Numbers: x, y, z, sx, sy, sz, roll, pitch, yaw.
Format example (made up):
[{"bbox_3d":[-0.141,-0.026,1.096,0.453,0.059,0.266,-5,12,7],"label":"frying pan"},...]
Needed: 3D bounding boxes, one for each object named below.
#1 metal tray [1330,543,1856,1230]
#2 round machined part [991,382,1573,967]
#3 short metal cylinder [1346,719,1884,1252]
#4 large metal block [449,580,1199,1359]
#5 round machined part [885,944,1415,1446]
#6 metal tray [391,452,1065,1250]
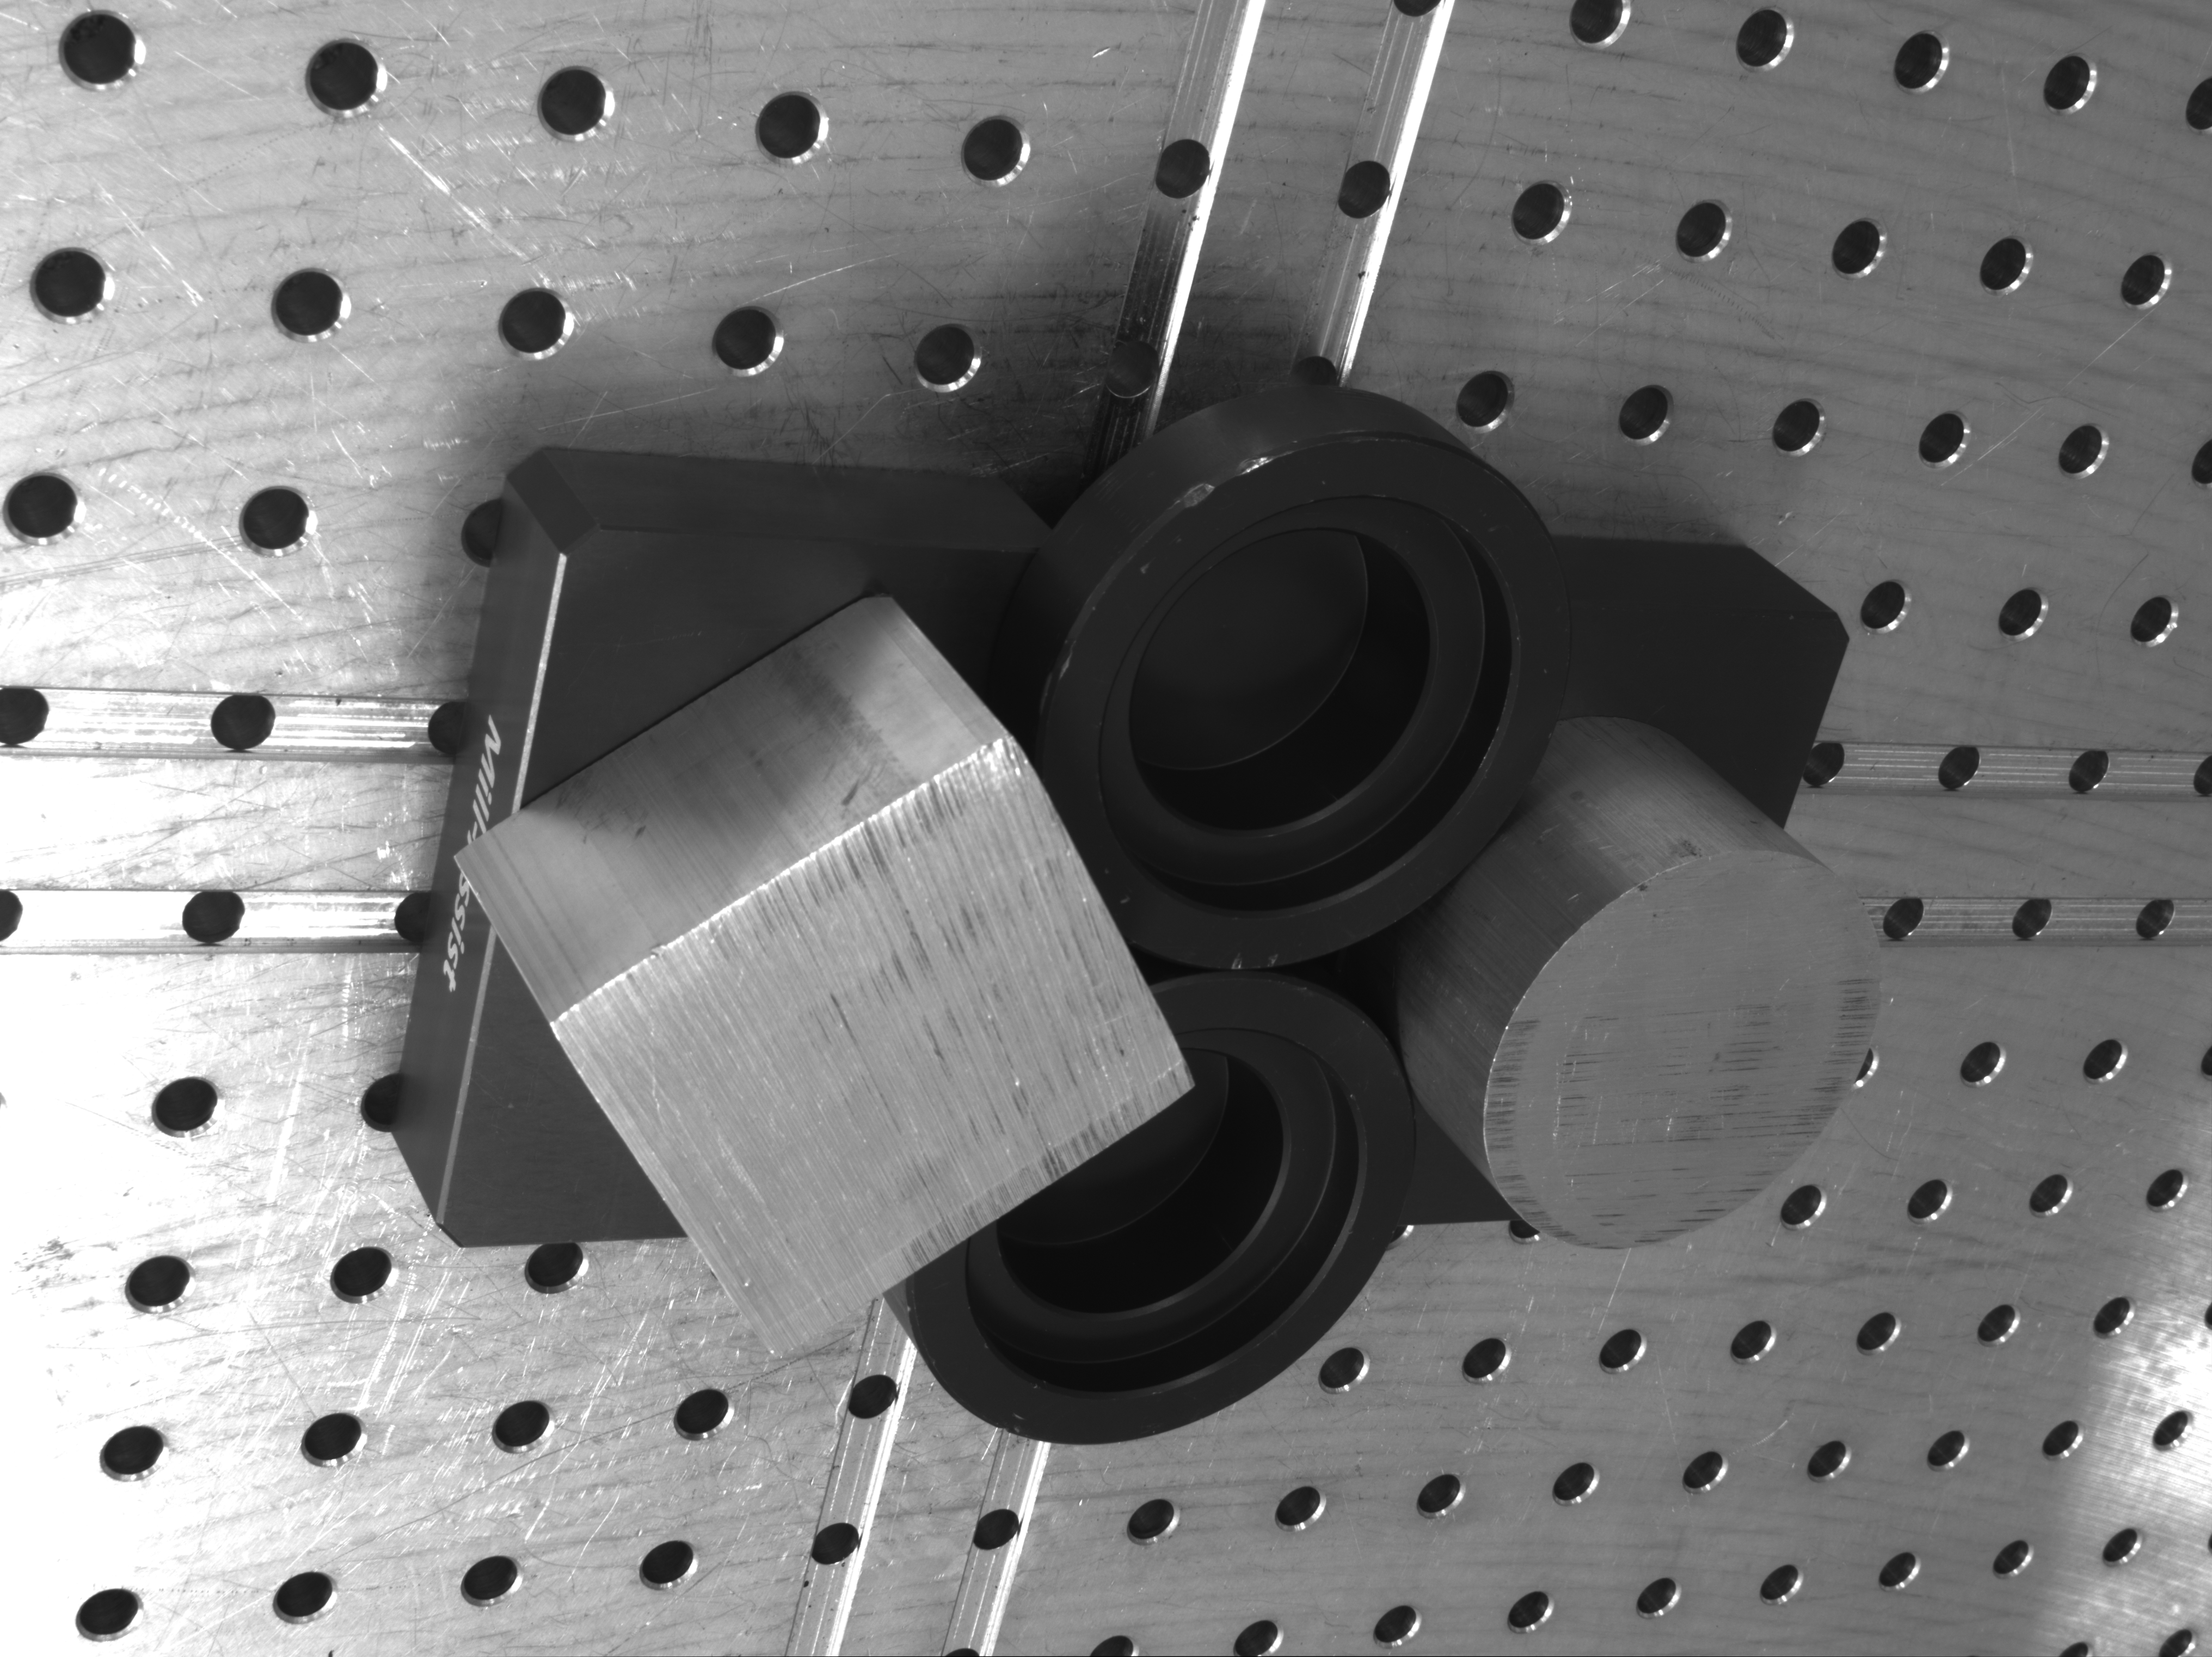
[{"bbox_3d":[0.078,0.012,0.684,0.090,0.030,0.130,1,118,-28],"label":"metal tray"},{"bbox_3d":[0.025,-0.029,0.614,0.098,0.042,0.098,-13,124,-21],"label":"round machined part"},{"bbox_3d":[0.090,0.028,0.650,0.080,0.050,0.080,-13,124,-21],"label":"short metal cylinder"},{"bbox_3d":[-0.043,0.022,0.576,0.080,0.050,0.080,-32,128,-7],"label":"large metal block"},{"bbox_3d":[0.002,0.058,0.655,0.098,0.042,0.098,-13,124,-21],"label":"round machined part"},{"bbox_3d":[-0.062,0.005,0.607,0.090,0.030,0.130,0,118,-29],"label":"metal tray"}]
